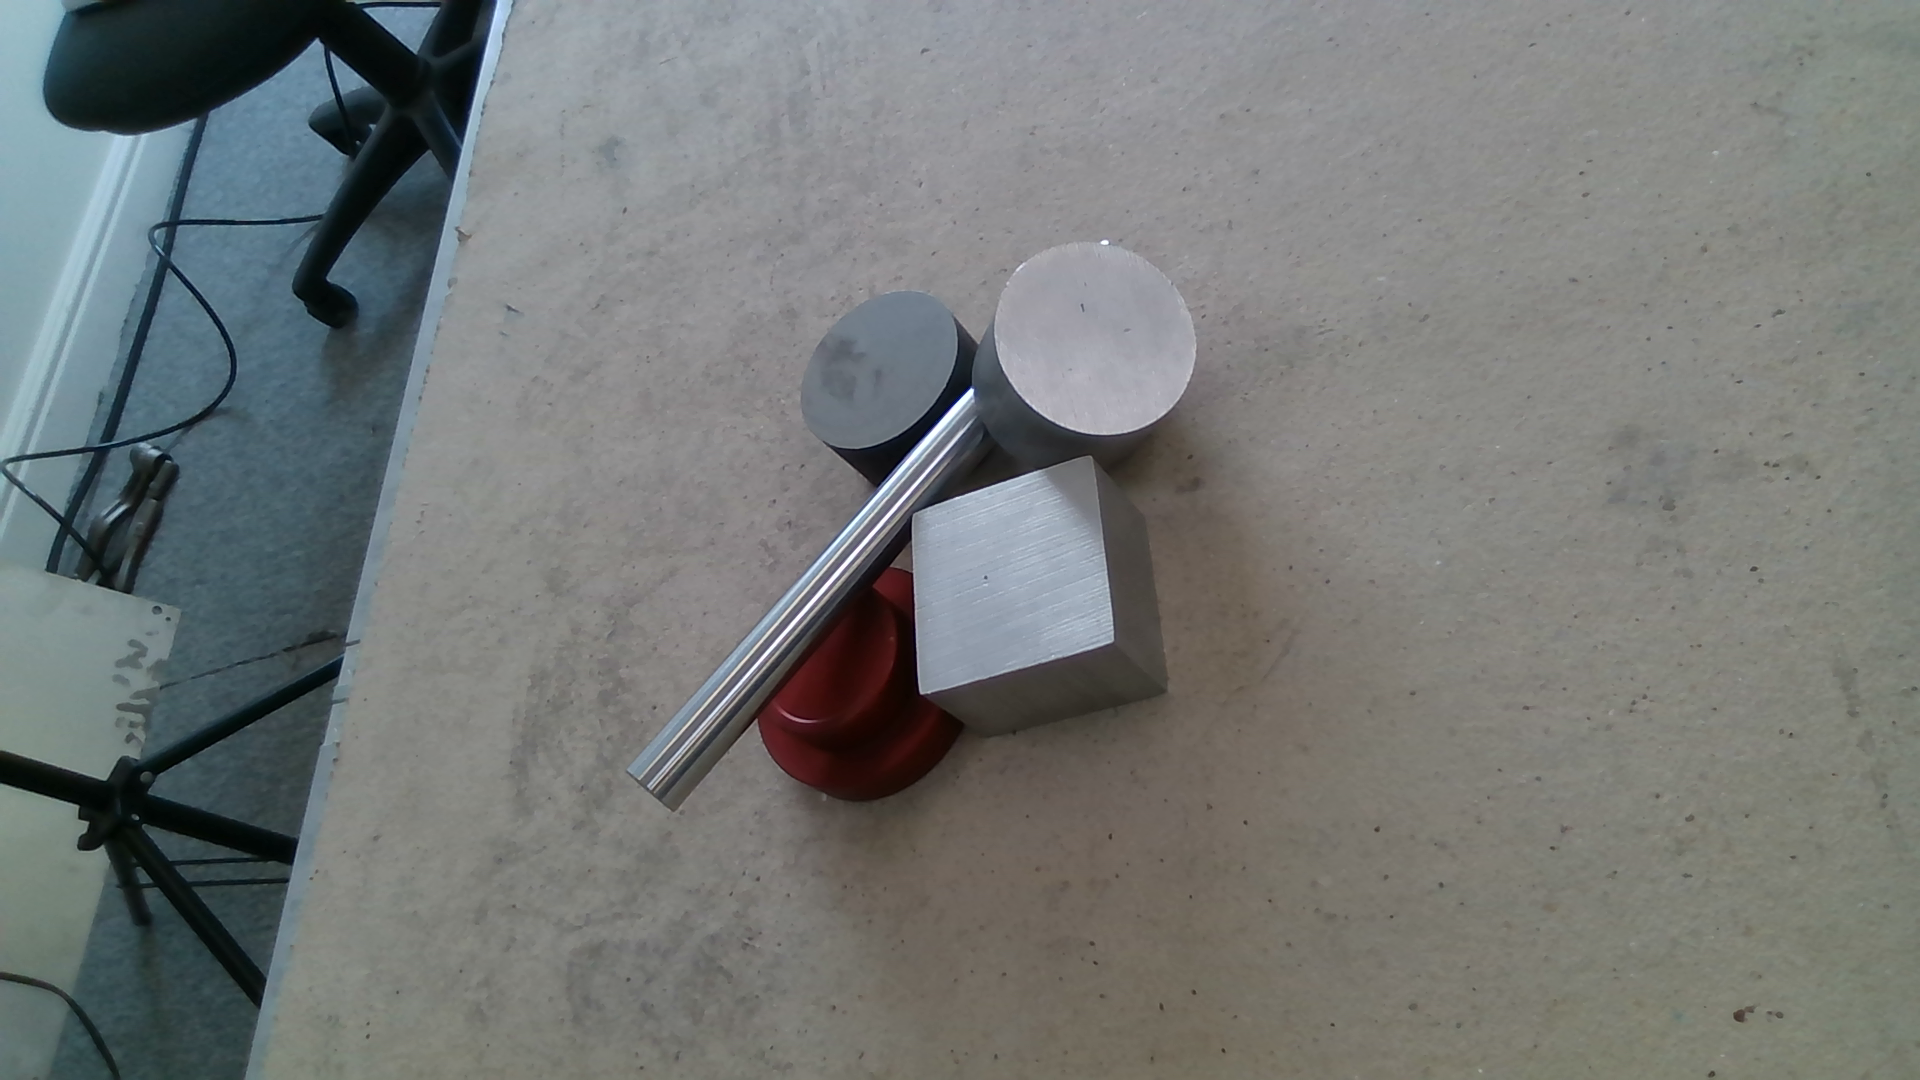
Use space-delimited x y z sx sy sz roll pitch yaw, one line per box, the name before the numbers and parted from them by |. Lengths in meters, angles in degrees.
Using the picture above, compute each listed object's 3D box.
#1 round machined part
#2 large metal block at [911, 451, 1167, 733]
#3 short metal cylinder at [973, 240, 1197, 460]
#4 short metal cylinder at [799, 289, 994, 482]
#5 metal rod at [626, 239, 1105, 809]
round machined part | -0.047 0.054 0.574 0.098 0.042 0.098 -14 59 25
large metal block | 0.029 0.022 0.537 0.080 0.050 0.080 -17 58 23
short metal cylinder | 0.049 -0.073 0.554 0.080 0.050 0.080 2 75 -9
short metal cylinder | -0.025 -0.065 0.621 0.080 0.050 0.080 -14 59 25
metal rod | -0.025 -0.015 0.566 0.025 0.025 0.300 26 68 38
